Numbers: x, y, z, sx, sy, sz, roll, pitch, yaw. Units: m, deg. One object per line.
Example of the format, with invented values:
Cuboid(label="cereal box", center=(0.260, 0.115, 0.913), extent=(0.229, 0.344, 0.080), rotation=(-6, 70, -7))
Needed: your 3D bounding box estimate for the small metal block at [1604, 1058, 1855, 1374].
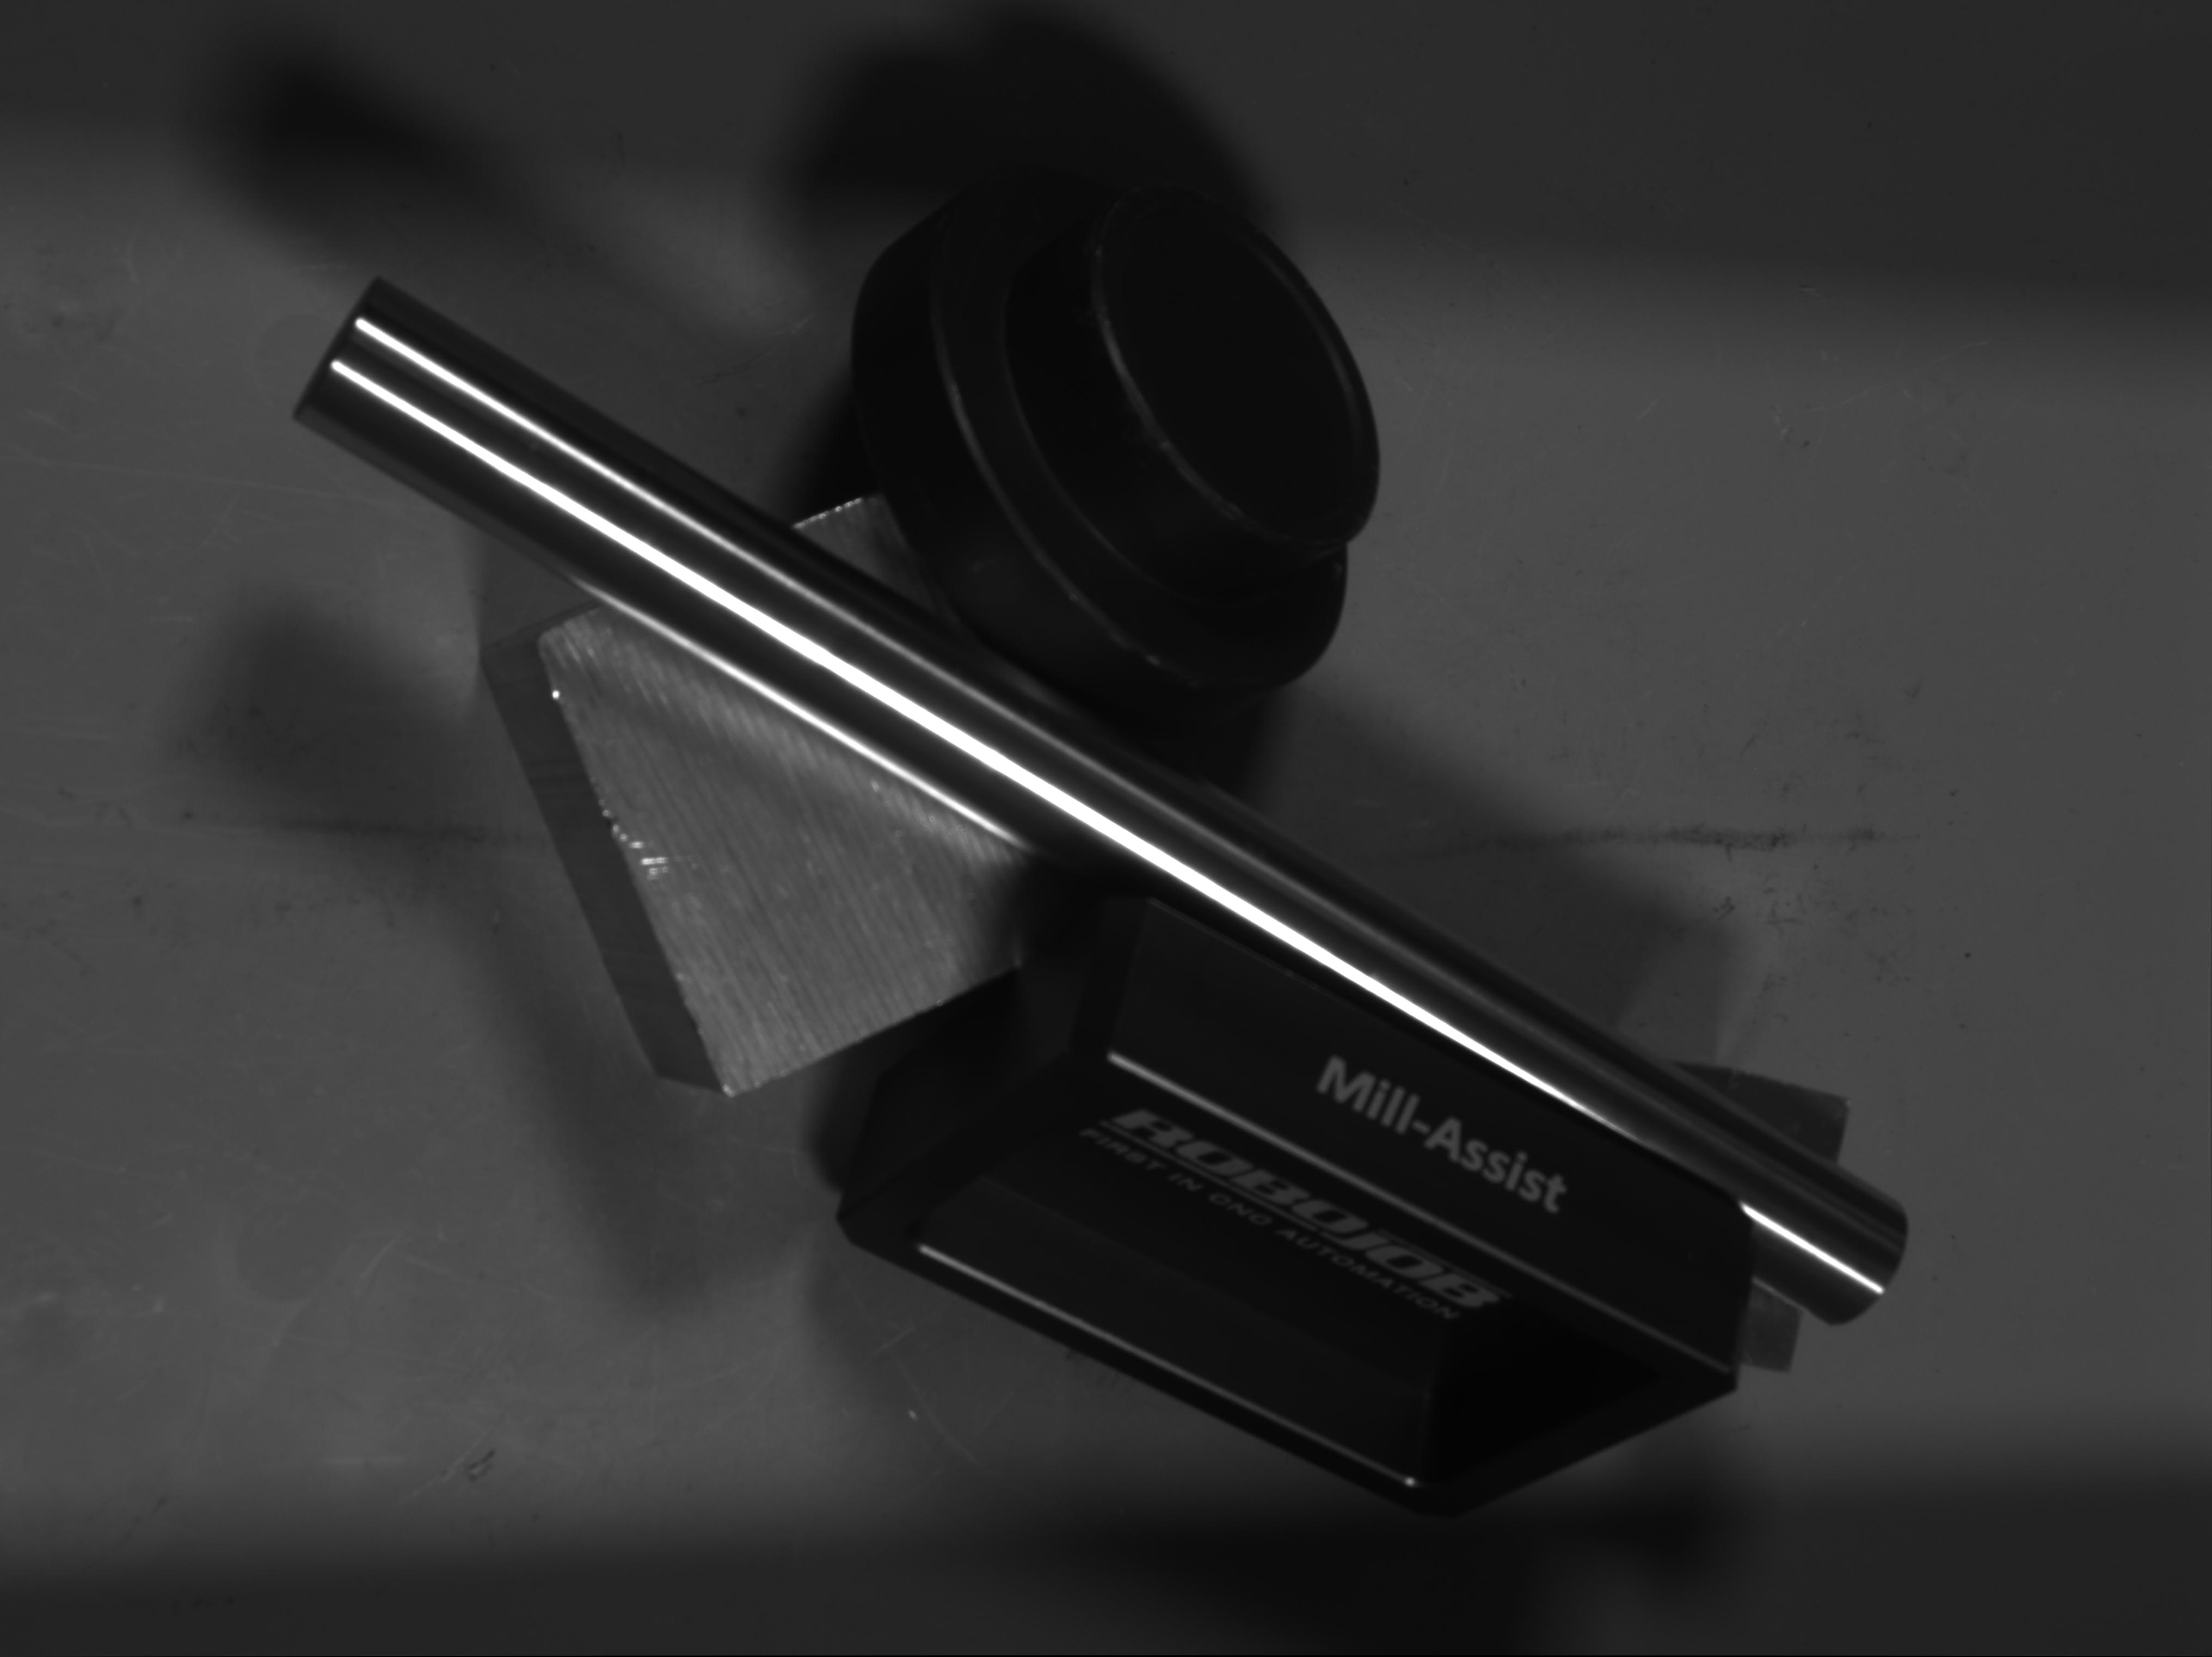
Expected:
Cuboid(label="small metal block", center=(0.107, 0.069, 0.668), extent=(0.025, 0.050, 0.050), rotation=(15, 85, -19))

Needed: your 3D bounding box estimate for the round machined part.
Cuboid(label="round machined part", center=(0.009, -0.068, 0.609), extent=(0.098, 0.042, 0.098), rotation=(30, 45, -35))

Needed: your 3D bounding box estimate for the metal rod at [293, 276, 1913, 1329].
Cuboid(label="metal rod", center=(0.008, 0.002, 0.591), extent=(0.300, 0.025, 0.025), rotation=(31, 80, -17))

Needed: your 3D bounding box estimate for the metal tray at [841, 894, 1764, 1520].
Cuboid(label="metal tray", center=(0.033, 0.067, 0.616), extent=(0.130, 0.090, 0.030), rotation=(28, 53, -18))

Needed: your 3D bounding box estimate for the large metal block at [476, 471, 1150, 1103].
Cuboid(label="large metal block", center=(-0.048, -0.009, 0.611), extent=(0.080, 0.050, 0.080), rotation=(-24, 98, -18))
